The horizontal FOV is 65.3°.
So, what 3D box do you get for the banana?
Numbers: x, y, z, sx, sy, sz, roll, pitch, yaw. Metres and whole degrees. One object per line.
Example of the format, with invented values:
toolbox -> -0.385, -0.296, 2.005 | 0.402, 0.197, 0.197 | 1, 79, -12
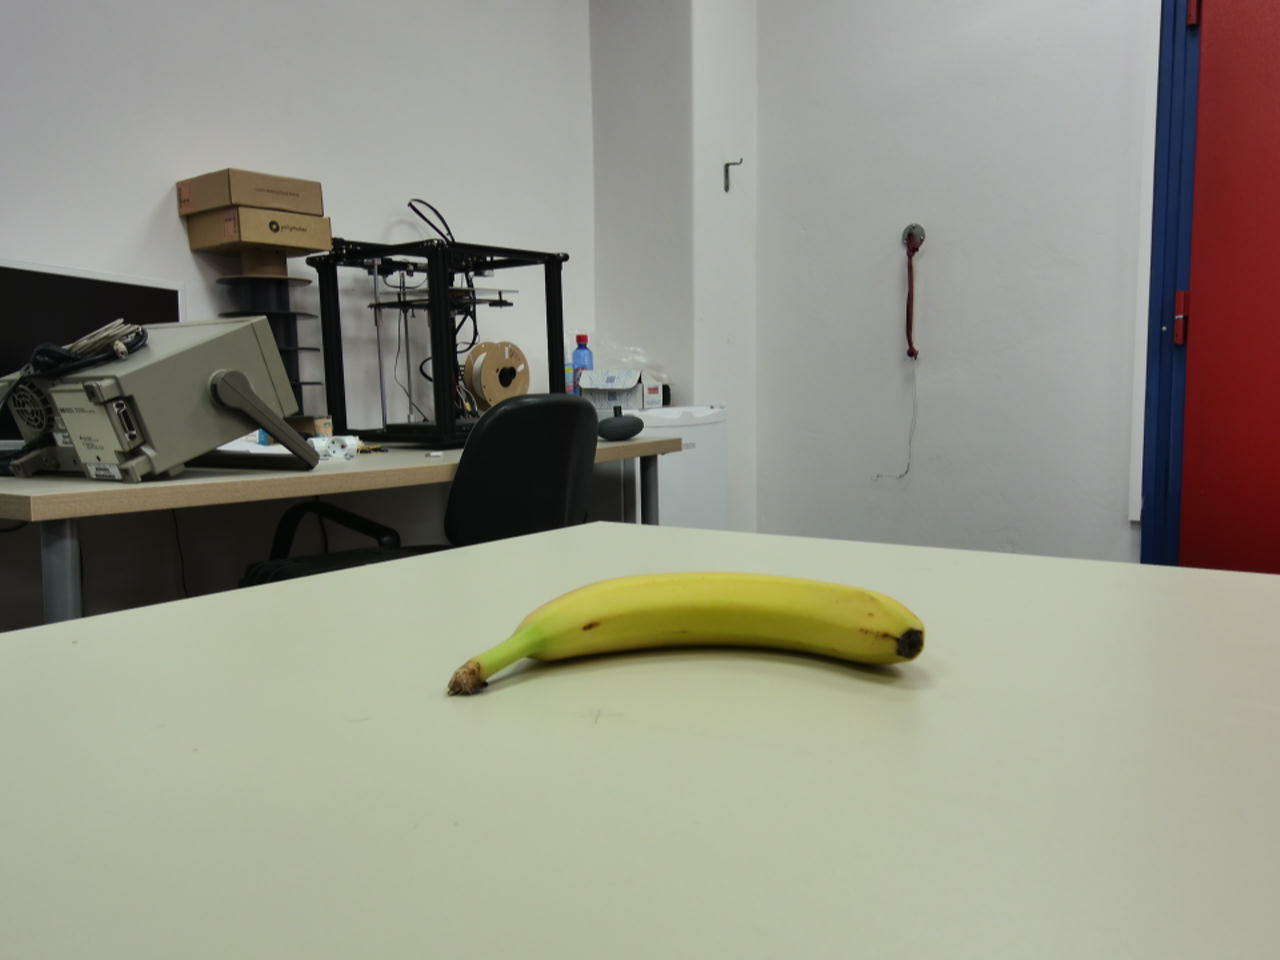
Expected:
banana -> 0.019, 0.066, 0.453 | 0.196, 0.041, 0.094 | 0, 3, 2
